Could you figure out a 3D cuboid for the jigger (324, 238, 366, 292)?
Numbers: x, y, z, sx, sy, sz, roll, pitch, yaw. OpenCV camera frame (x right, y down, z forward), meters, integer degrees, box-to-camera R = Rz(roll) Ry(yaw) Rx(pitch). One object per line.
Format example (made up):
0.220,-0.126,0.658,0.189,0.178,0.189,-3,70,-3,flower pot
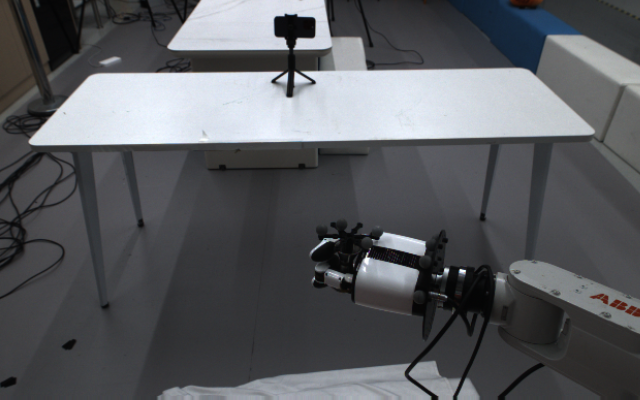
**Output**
0.043,0.098,0.726,0.043,0.071,0.043,3,24,-1,jigger
